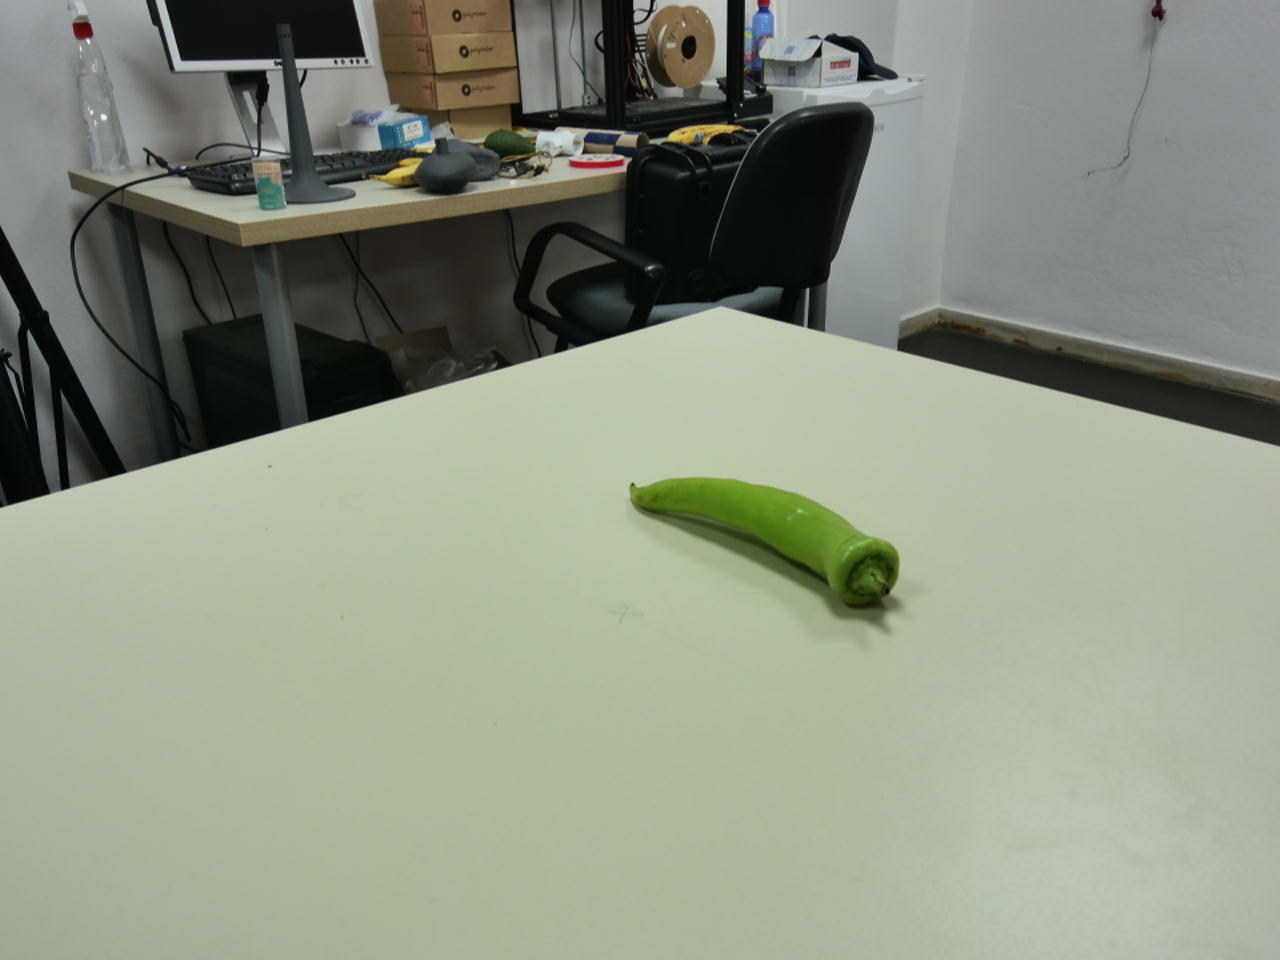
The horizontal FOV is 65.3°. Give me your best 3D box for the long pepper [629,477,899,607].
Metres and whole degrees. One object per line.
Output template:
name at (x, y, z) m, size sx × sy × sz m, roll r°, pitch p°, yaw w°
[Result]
long pepper at (0.065, 0.021, 0.547) m, size 0.046 × 0.038 × 0.197 m, roll -18°, pitch 29°, yaw -35°
